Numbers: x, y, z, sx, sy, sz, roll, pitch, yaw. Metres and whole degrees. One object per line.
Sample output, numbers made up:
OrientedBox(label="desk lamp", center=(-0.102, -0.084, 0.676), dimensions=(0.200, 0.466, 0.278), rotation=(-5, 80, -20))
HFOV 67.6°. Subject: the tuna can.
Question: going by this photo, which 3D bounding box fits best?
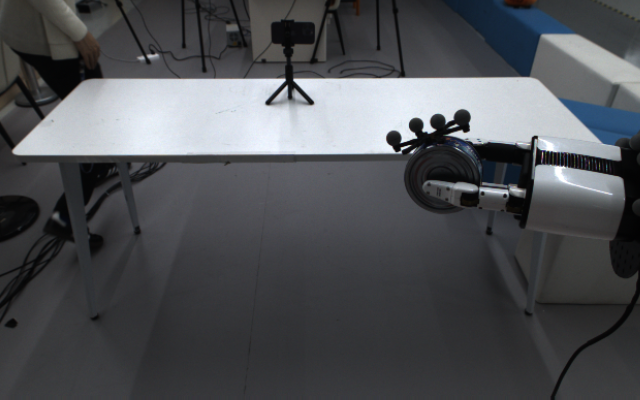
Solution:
OrientedBox(label="tuna can", center=(0.143, -0.030, 0.555), dimensions=(0.085, 0.085, 0.034), rotation=(15, 30, 17))
